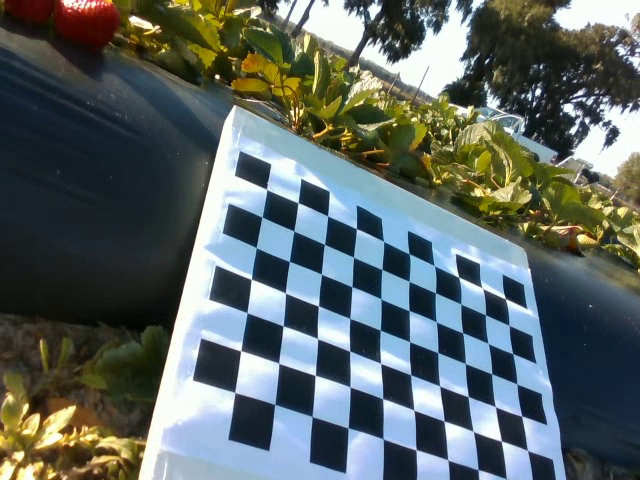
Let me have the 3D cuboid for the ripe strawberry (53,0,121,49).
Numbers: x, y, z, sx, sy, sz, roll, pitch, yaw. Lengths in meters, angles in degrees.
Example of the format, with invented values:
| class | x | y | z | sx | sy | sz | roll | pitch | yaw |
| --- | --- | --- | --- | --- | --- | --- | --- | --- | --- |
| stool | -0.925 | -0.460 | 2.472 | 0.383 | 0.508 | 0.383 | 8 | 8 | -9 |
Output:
| class | x | y | z | sx | sy | sz | roll | pitch | yaw |
| --- | --- | --- | --- | --- | --- | --- | --- | --- | --- |
| ripe strawberry | -0.176 | -0.169 | 0.472 | 0.067 | 0.052 | 0.056 | 5 | 25 | 39 |
